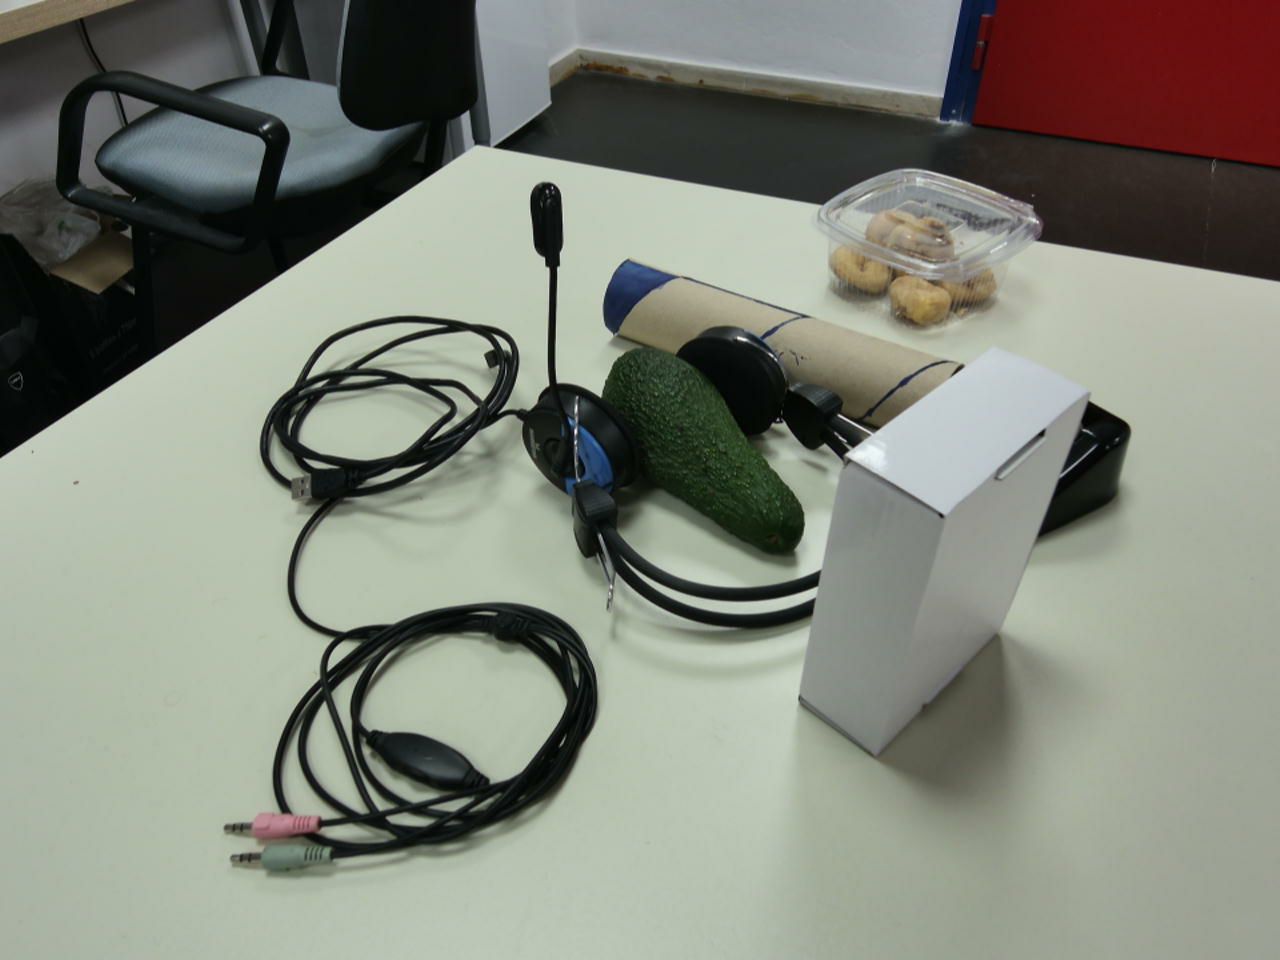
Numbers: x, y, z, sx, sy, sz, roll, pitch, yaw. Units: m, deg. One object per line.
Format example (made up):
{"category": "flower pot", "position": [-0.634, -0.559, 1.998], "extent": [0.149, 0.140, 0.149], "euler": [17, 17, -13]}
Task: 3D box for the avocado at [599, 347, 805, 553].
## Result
{"category": "avocado", "position": [0.035, -0.022, 0.517], "extent": [0.141, 0.067, 0.063], "euler": [27, 46, 31]}
